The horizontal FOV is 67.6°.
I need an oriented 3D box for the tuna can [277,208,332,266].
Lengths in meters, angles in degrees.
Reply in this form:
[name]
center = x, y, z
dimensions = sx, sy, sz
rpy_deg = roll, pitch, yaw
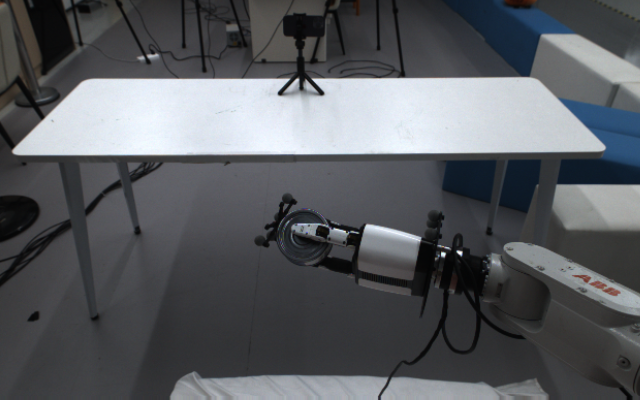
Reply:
[tuna can]
center = -0.020, 0.061, 0.742
dimensions = 0.085, 0.034, 0.085
rpy_deg = -2, 72, 6
